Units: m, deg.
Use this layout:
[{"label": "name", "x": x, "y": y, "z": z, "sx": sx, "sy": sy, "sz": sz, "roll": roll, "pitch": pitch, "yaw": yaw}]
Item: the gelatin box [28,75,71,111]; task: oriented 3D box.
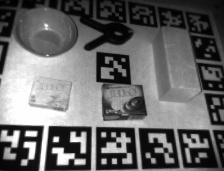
[{"label": "gelatin box", "x": -0.153, "y": 0.019, "z": 0.539, "sx": 0.090, "sy": 0.030, "sz": 0.073, "roll": 12, "pitch": 66, "yaw": -10}]

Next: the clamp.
[{"label": "clamp", "x": -0.025, "y": -0.164, "z": 0.662, "sx": 0.166, "sy": 0.036, "sz": 0.121, "roll": -5, "pitch": 68, "yaw": -19}]

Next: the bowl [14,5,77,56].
[{"label": "bowl", "x": -0.180, "y": -0.141, "z": 0.598, "sx": 0.163, "sy": 0.055, "sz": 0.161, "roll": 6, "pitch": 68, "yaw": -13}]

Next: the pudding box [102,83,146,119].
[{"label": "pudding box", "x": 0.029, "y": 0.042, "z": 0.575, "sx": 0.114, "sy": 0.038, "sz": 0.089, "roll": 3, "pitch": 70, "yaw": -11}]

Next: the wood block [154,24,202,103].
[{"label": "wood block", "x": 0.188, "y": -0.064, "z": 0.634, "sx": 0.090, "sy": 0.091, "sz": 0.205, "roll": 7, "pitch": 65, "yaw": -12}]
